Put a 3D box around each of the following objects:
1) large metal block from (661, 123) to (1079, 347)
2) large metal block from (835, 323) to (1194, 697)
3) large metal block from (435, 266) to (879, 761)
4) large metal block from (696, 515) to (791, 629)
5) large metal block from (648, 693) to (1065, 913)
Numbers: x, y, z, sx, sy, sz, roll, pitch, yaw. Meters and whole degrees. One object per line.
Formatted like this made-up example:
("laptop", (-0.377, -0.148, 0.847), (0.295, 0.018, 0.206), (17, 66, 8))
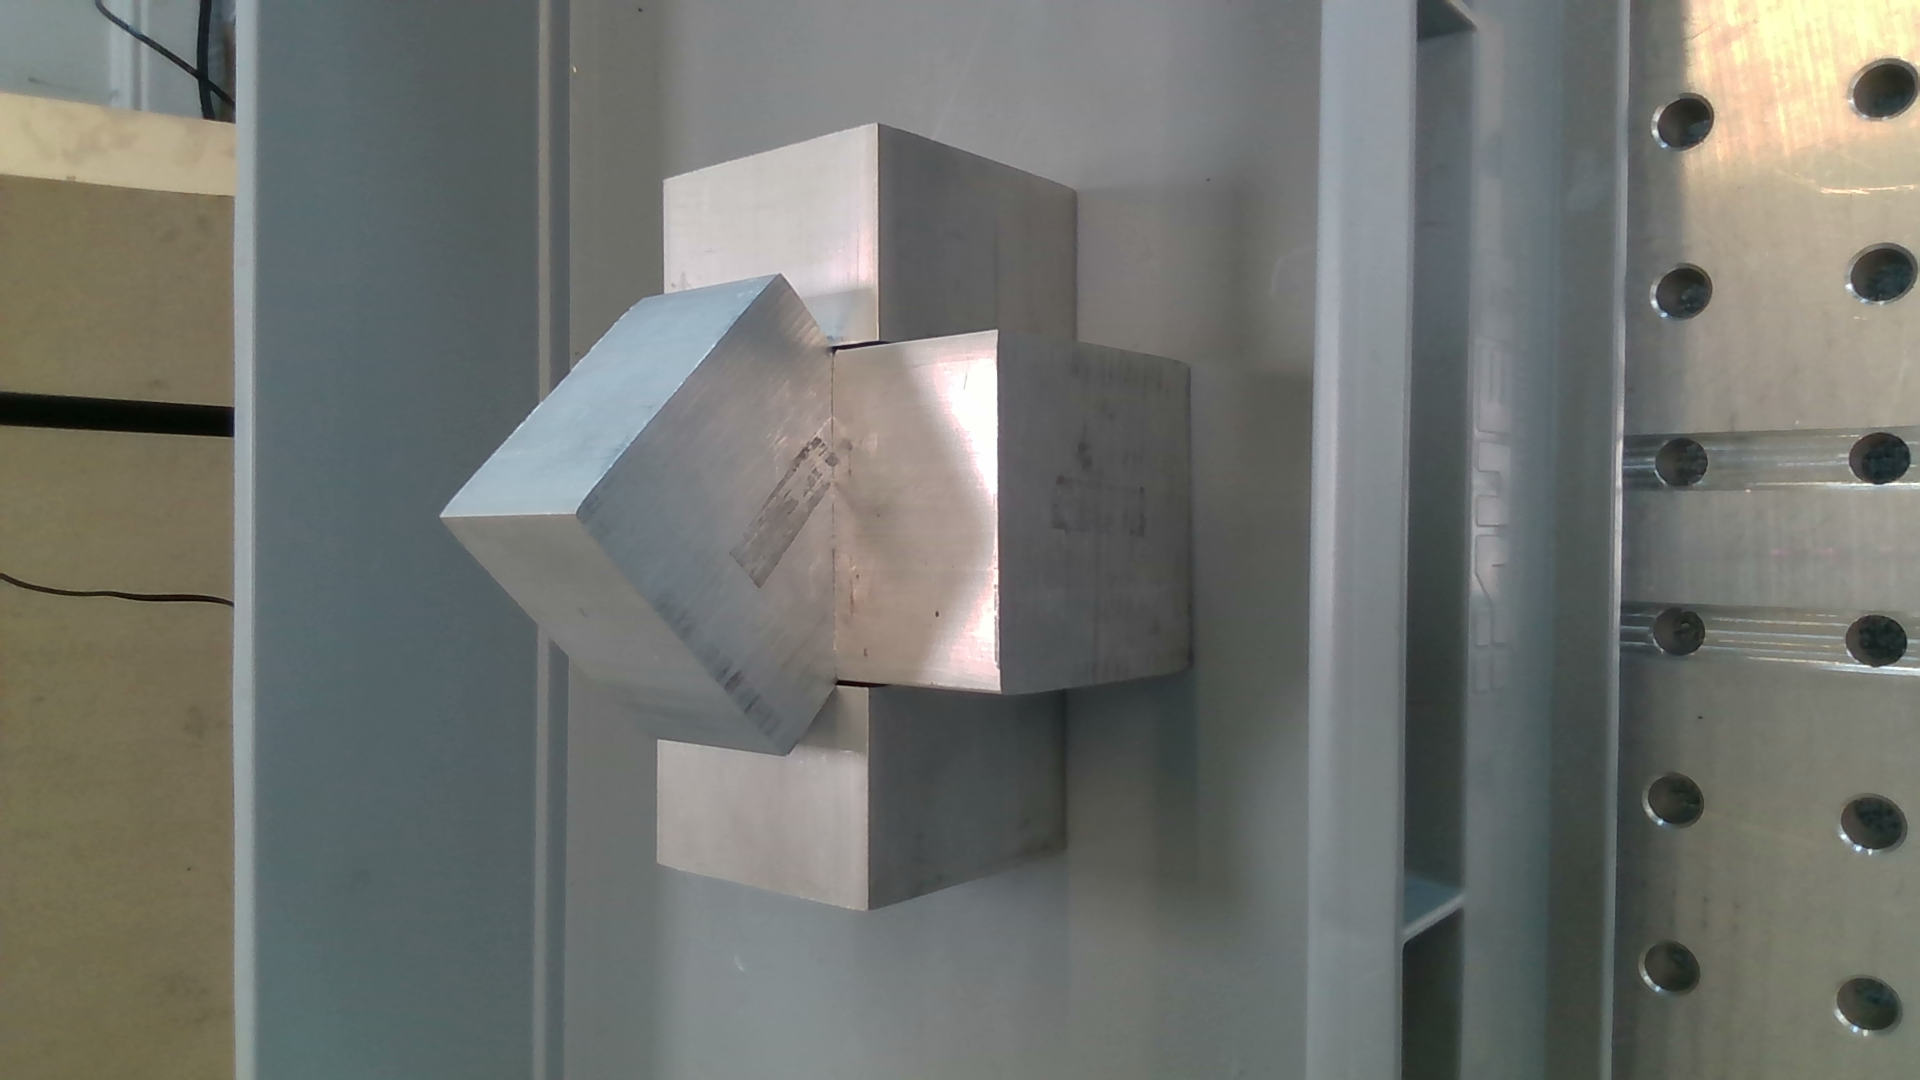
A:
("large metal block", (-0.024, -0.071, 0.374), (0.080, 0.080, 0.050), (0, 90, 40))
("large metal block", (0.015, -0.006, 0.341), (0.050, 0.080, 0.080), (0, 90, 40))
("large metal block", (-0.060, -0.006, 0.330), (0.050, 0.080, 0.080), (0, 135, 40))
("large metal block", (-0.062, -0.006, 0.406), (0.050, 0.080, 0.080), (0, 90, 40))
("large metal block", (-0.027, 0.061, 0.375), (0.080, 0.080, 0.050), (0, 91, 40))
